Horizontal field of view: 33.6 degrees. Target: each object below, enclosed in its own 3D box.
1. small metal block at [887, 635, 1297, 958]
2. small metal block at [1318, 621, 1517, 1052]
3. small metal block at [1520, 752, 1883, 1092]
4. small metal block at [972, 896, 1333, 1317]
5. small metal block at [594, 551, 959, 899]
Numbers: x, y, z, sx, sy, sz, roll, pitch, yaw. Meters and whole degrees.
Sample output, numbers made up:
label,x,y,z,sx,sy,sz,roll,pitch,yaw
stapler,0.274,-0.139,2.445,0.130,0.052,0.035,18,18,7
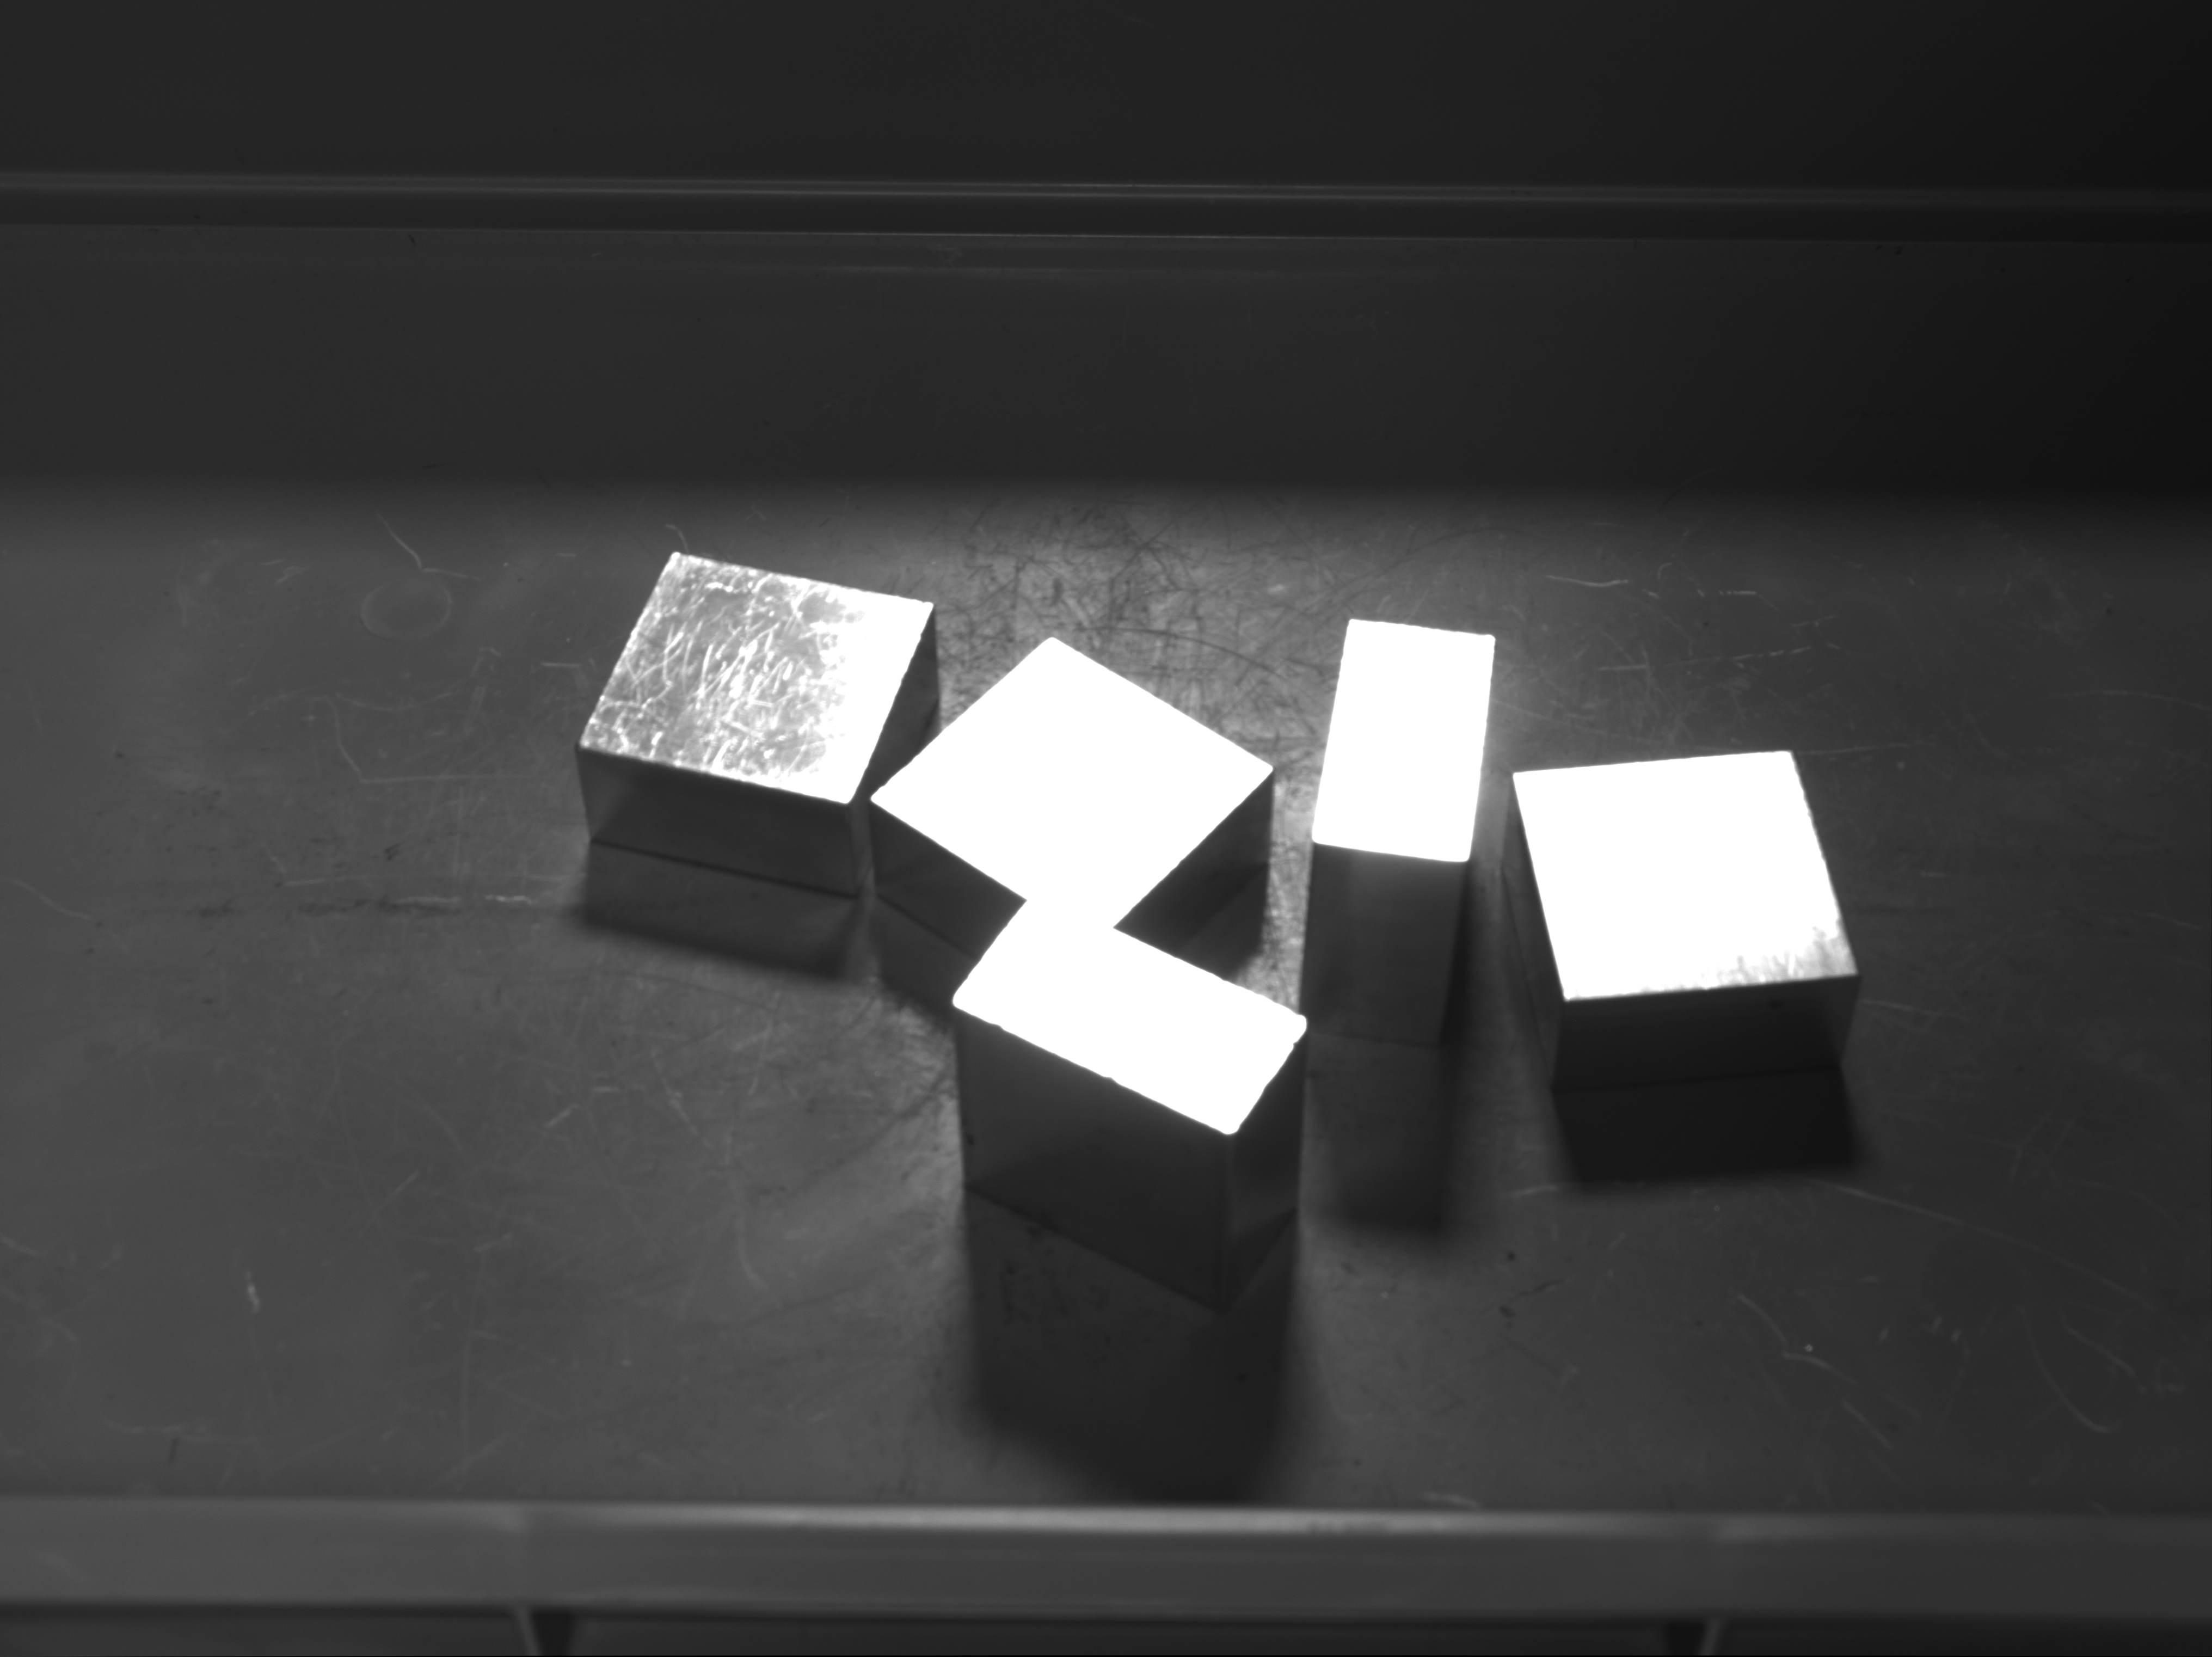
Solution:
label,x,y,z,sx,sy,sz,roll,pitch,yaw
small metal block,-0.002,0.000,0.639,0.050,0.025,0.050,32,57,24
small metal block,0.053,0.001,0.623,0.025,0.050,0.050,8,50,6
small metal block,0.101,0.016,0.627,0.050,0.025,0.050,-4,50,-4
small metal block,0.007,0.045,0.585,0.050,0.050,0.025,25,55,19
small metal block,-0.058,-0.019,0.655,0.050,0.025,0.050,12,51,10
